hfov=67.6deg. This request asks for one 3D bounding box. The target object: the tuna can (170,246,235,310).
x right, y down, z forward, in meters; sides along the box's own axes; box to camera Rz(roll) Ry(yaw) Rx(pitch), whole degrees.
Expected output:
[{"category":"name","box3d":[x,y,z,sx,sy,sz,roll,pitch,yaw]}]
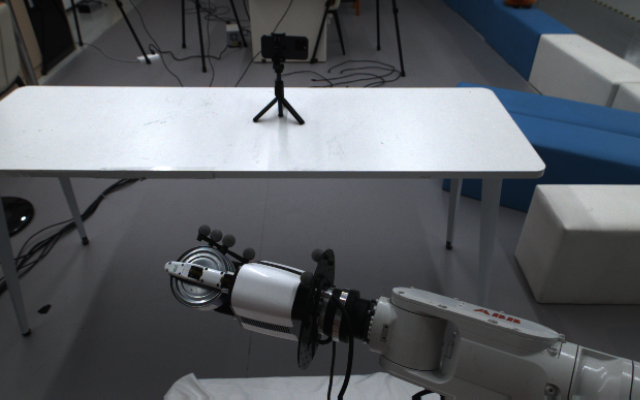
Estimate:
[{"category":"tuna can","box3d":[-0.159,0.108,0.670,0.085,0.034,0.085,-4,67,10]}]
